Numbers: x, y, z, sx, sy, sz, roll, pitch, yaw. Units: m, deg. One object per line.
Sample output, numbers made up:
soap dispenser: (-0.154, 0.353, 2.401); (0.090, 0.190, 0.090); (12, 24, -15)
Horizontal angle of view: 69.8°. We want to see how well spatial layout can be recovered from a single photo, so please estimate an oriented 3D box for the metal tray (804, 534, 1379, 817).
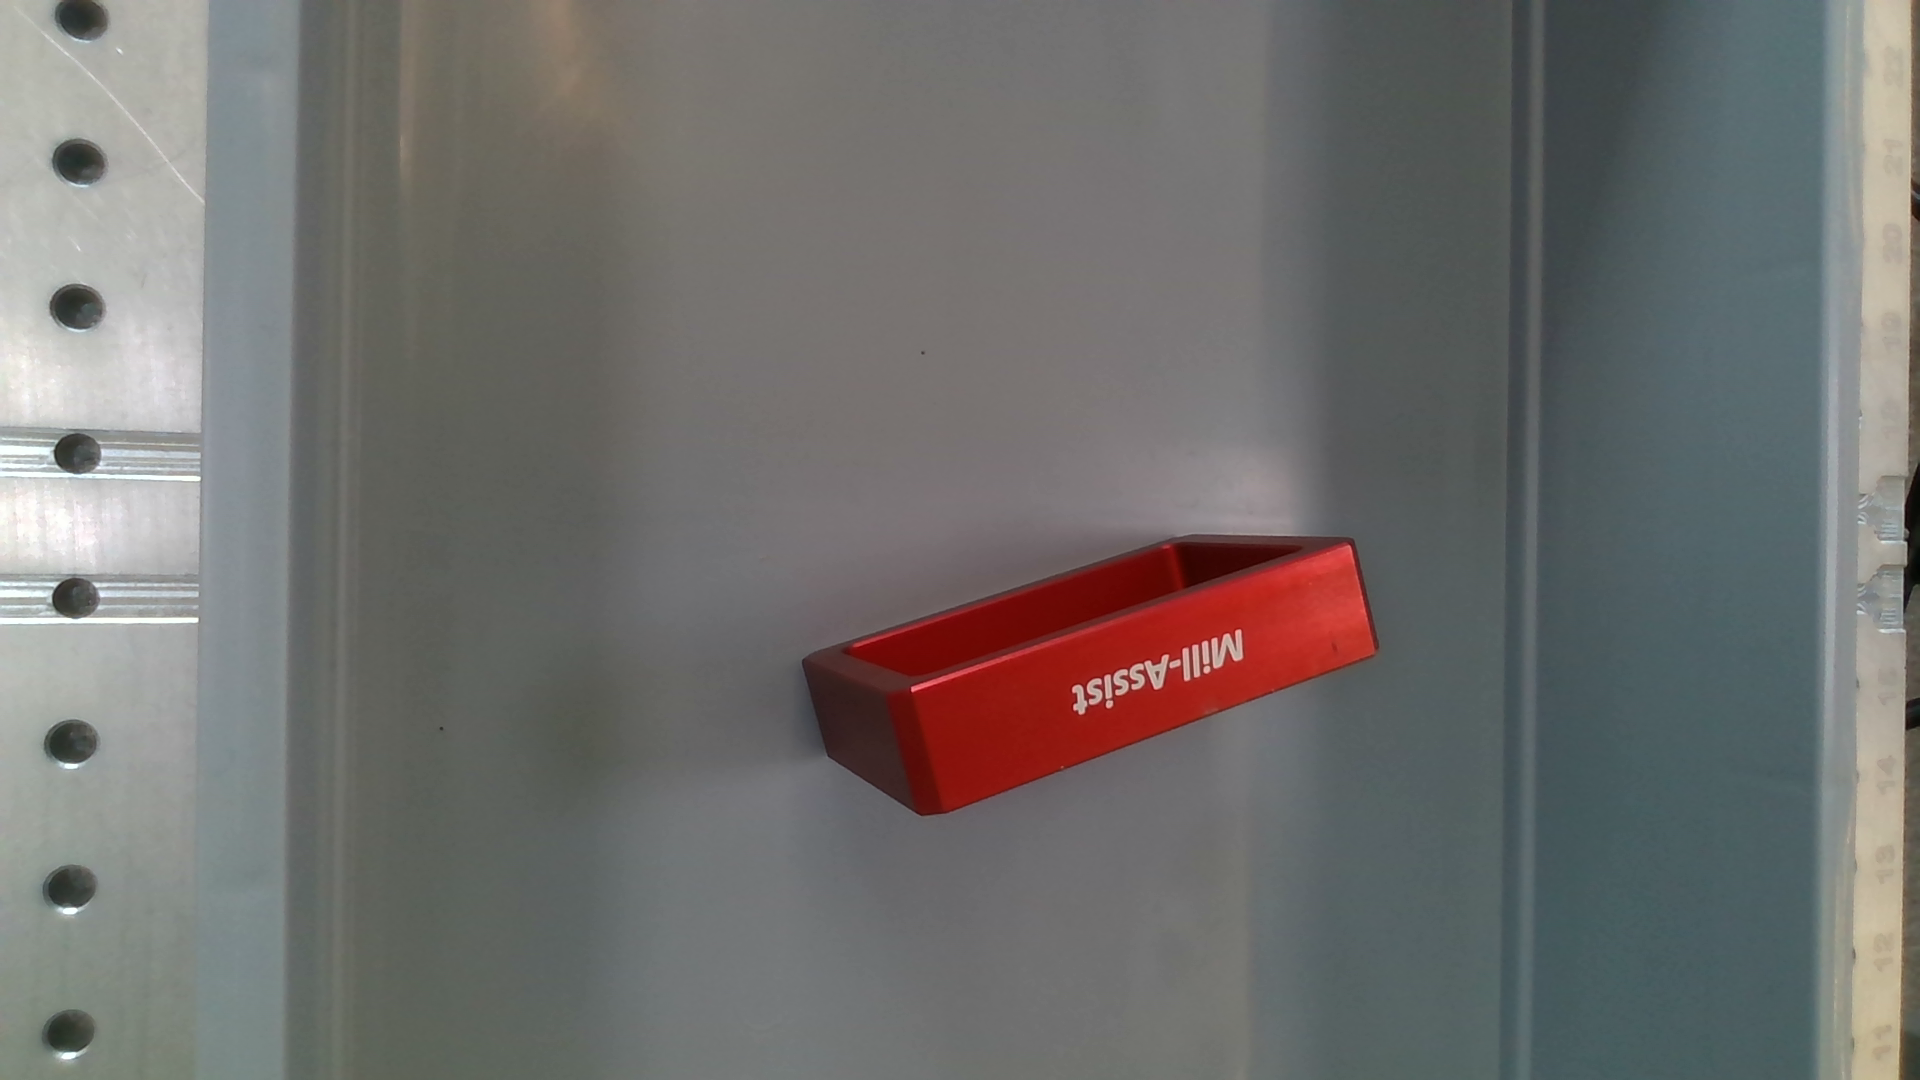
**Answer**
metal tray: (0.032, 0.030, 0.368); (0.130, 0.090, 0.030); (-17, 96, -19)
